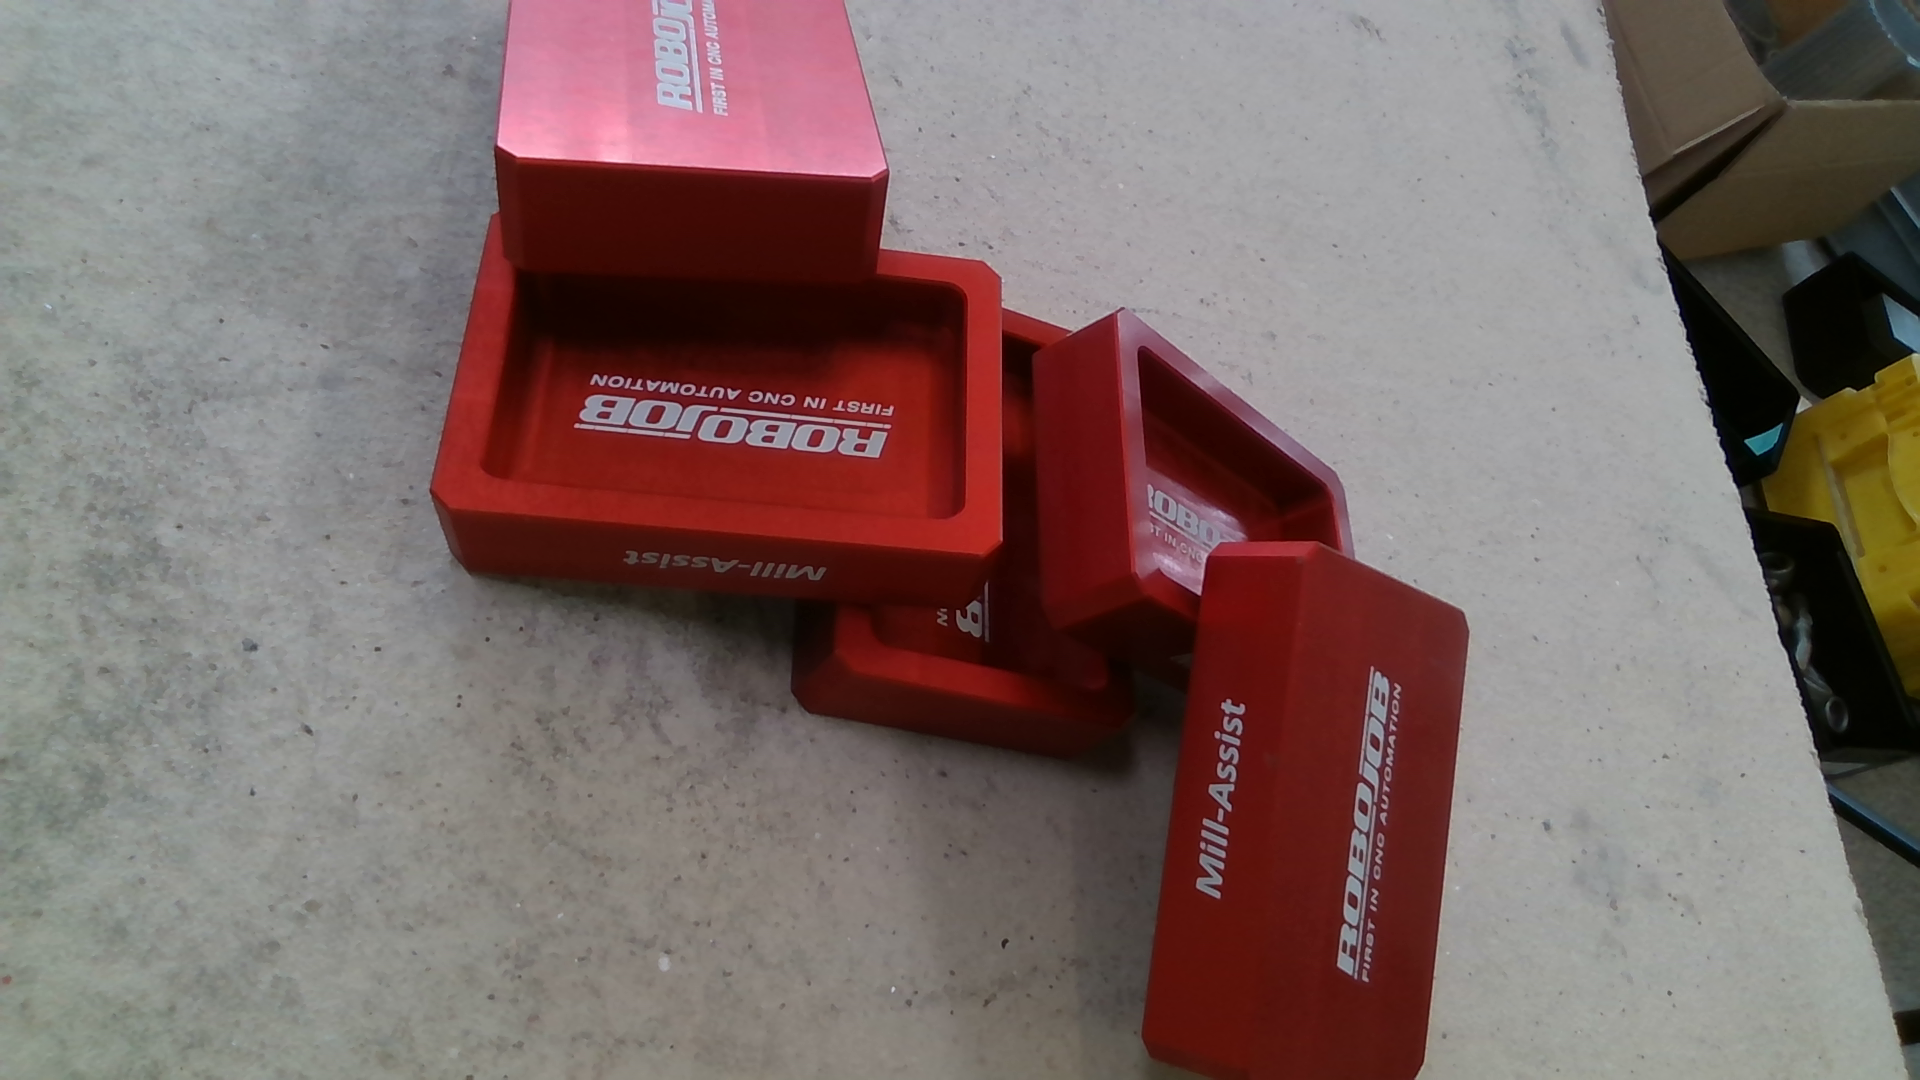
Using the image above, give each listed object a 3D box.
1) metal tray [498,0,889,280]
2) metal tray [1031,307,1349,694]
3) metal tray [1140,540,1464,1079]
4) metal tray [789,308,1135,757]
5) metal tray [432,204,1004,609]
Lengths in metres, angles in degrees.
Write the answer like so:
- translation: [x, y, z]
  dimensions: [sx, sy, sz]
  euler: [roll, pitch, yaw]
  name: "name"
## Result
- translation: [-0.074, -0.122, 0.371]
  dimensions: [0.090, 0.030, 0.130]
  euler: [-1, 46, -14]
  name: "metal tray"
- translation: [0.074, 0.000, 0.410]
  dimensions: [0.130, 0.030, 0.090]
  euler: [27, 52, -41]
  name: "metal tray"
- translation: [0.095, 0.073, 0.368]
  dimensions: [0.090, 0.030, 0.130]
  euler: [20, 76, -44]
  name: "metal tray"
- translation: [0.001, -0.010, 0.396]
  dimensions: [0.090, 0.030, 0.130]
  euler: [14, 59, -25]
  name: "metal tray"
- translation: [-0.056, -0.034, 0.348]
  dimensions: [0.130, 0.030, 0.090]
  euler: [5, 61, -8]
  name: "metal tray"
